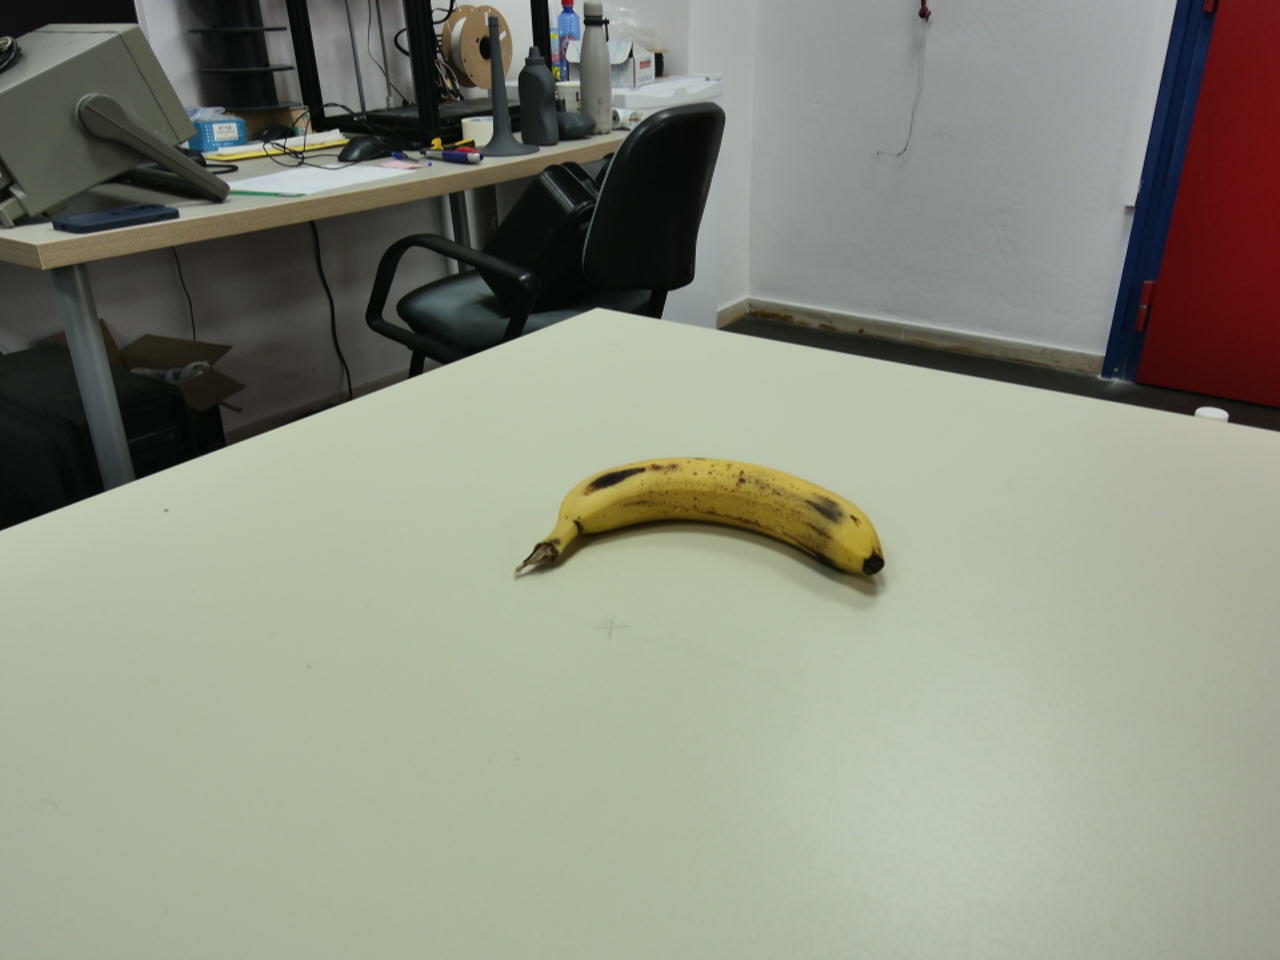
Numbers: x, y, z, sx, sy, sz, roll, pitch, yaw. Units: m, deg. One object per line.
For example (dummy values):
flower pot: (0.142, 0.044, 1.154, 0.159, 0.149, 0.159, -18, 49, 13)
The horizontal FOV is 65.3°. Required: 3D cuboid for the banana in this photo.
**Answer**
banana: (0.038, 0.019, 0.552, 0.186, 0.038, 0.097, 3, 24, 9)
